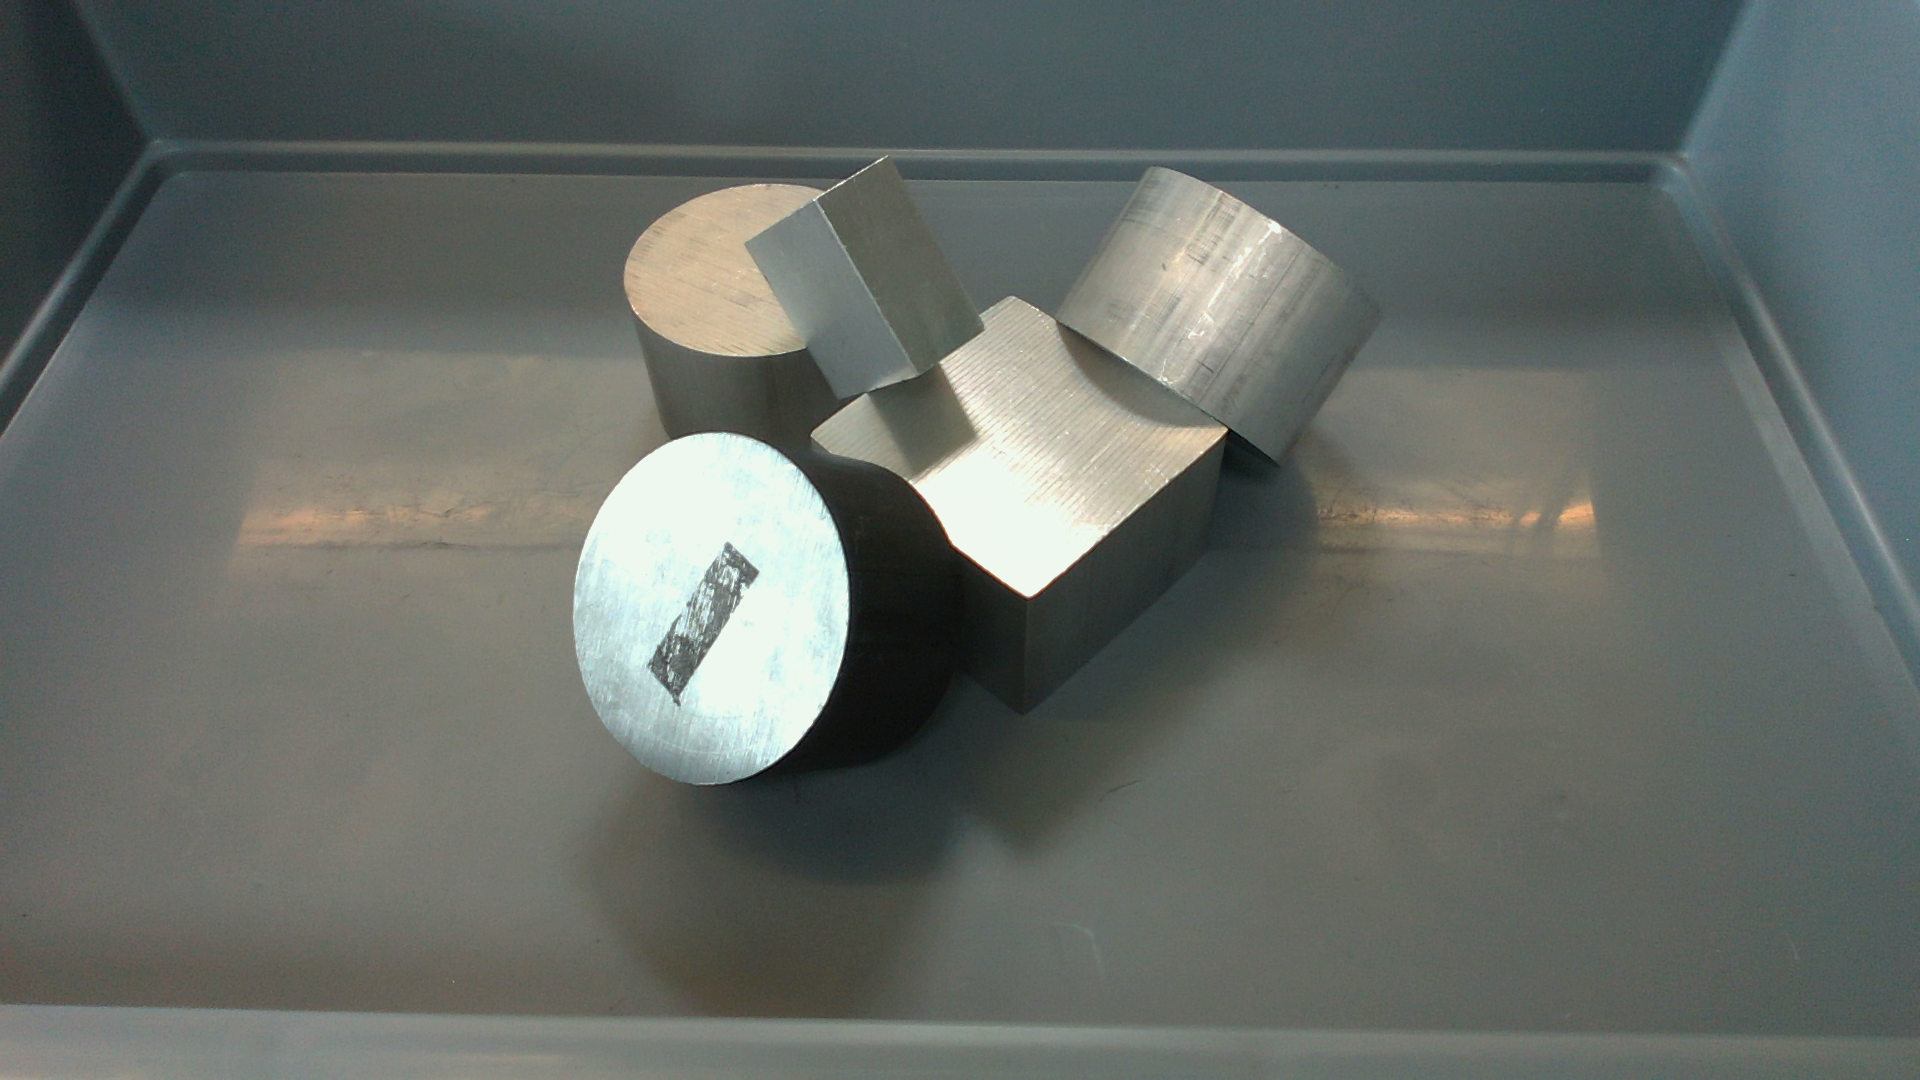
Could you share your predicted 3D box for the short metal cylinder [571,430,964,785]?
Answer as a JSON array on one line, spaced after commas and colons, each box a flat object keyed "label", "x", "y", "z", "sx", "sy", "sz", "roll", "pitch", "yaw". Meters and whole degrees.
[{"label": "short metal cylinder", "x": -0.046, "y": 0.016, "z": 0.332, "sx": 0.080, "sy": 0.050, "sz": 0.080, "roll": -2, "pitch": 85, "yaw": 30}]

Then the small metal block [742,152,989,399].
[{"label": "small metal block", "x": -0.026, "y": -0.069, "z": 0.367, "sx": 0.025, "sy": 0.050, "sz": 0.050, "roll": -38, "pitch": 16, "yaw": -25}]

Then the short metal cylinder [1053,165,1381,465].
[{"label": "short metal cylinder", "x": 0.073, "y": -0.064, "z": 0.399, "sx": 0.080, "sy": 0.080, "sz": 0.050, "roll": 36, "pitch": 97, "yaw": 26}]

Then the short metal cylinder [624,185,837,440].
[{"label": "short metal cylinder", "x": -0.060, "y": -0.066, "z": 0.430, "sx": 0.080, "sy": 0.050, "sz": 0.080, "roll": 0, "pitch": 50, "yaw": 0}]

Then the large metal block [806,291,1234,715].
[{"label": "large metal block", "x": 0.016, "y": -0.013, "z": 0.382, "sx": 0.080, "sy": 0.050, "sz": 0.080, "roll": 37, "pitch": 59, "yaw": 27}]
